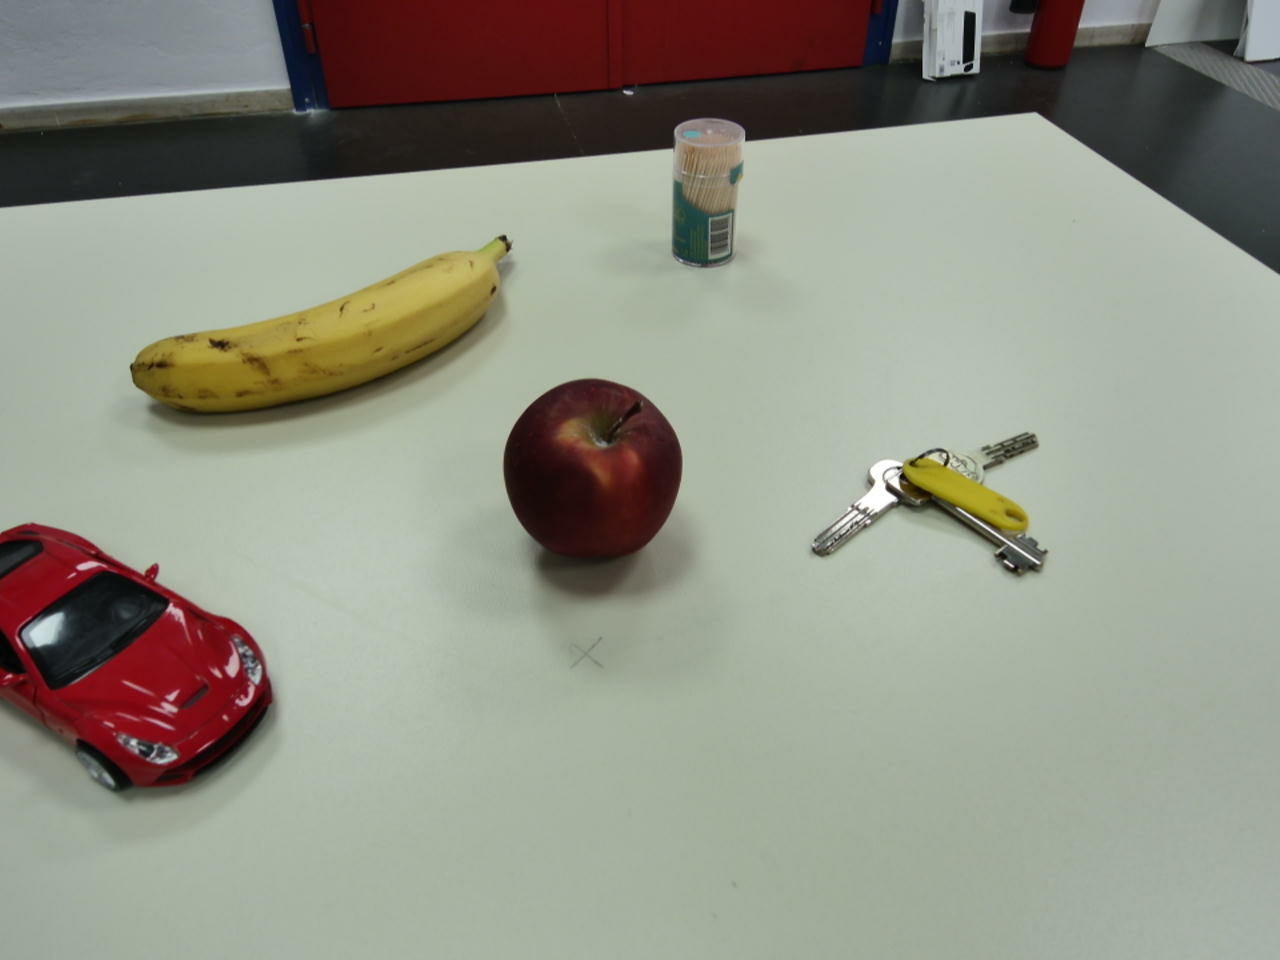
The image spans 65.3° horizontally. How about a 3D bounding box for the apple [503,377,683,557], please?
[{"bbox_3d":[-0.017,-0.003,0.387,0.070,0.072,0.070,1,38,-1],"label":"apple"}]
